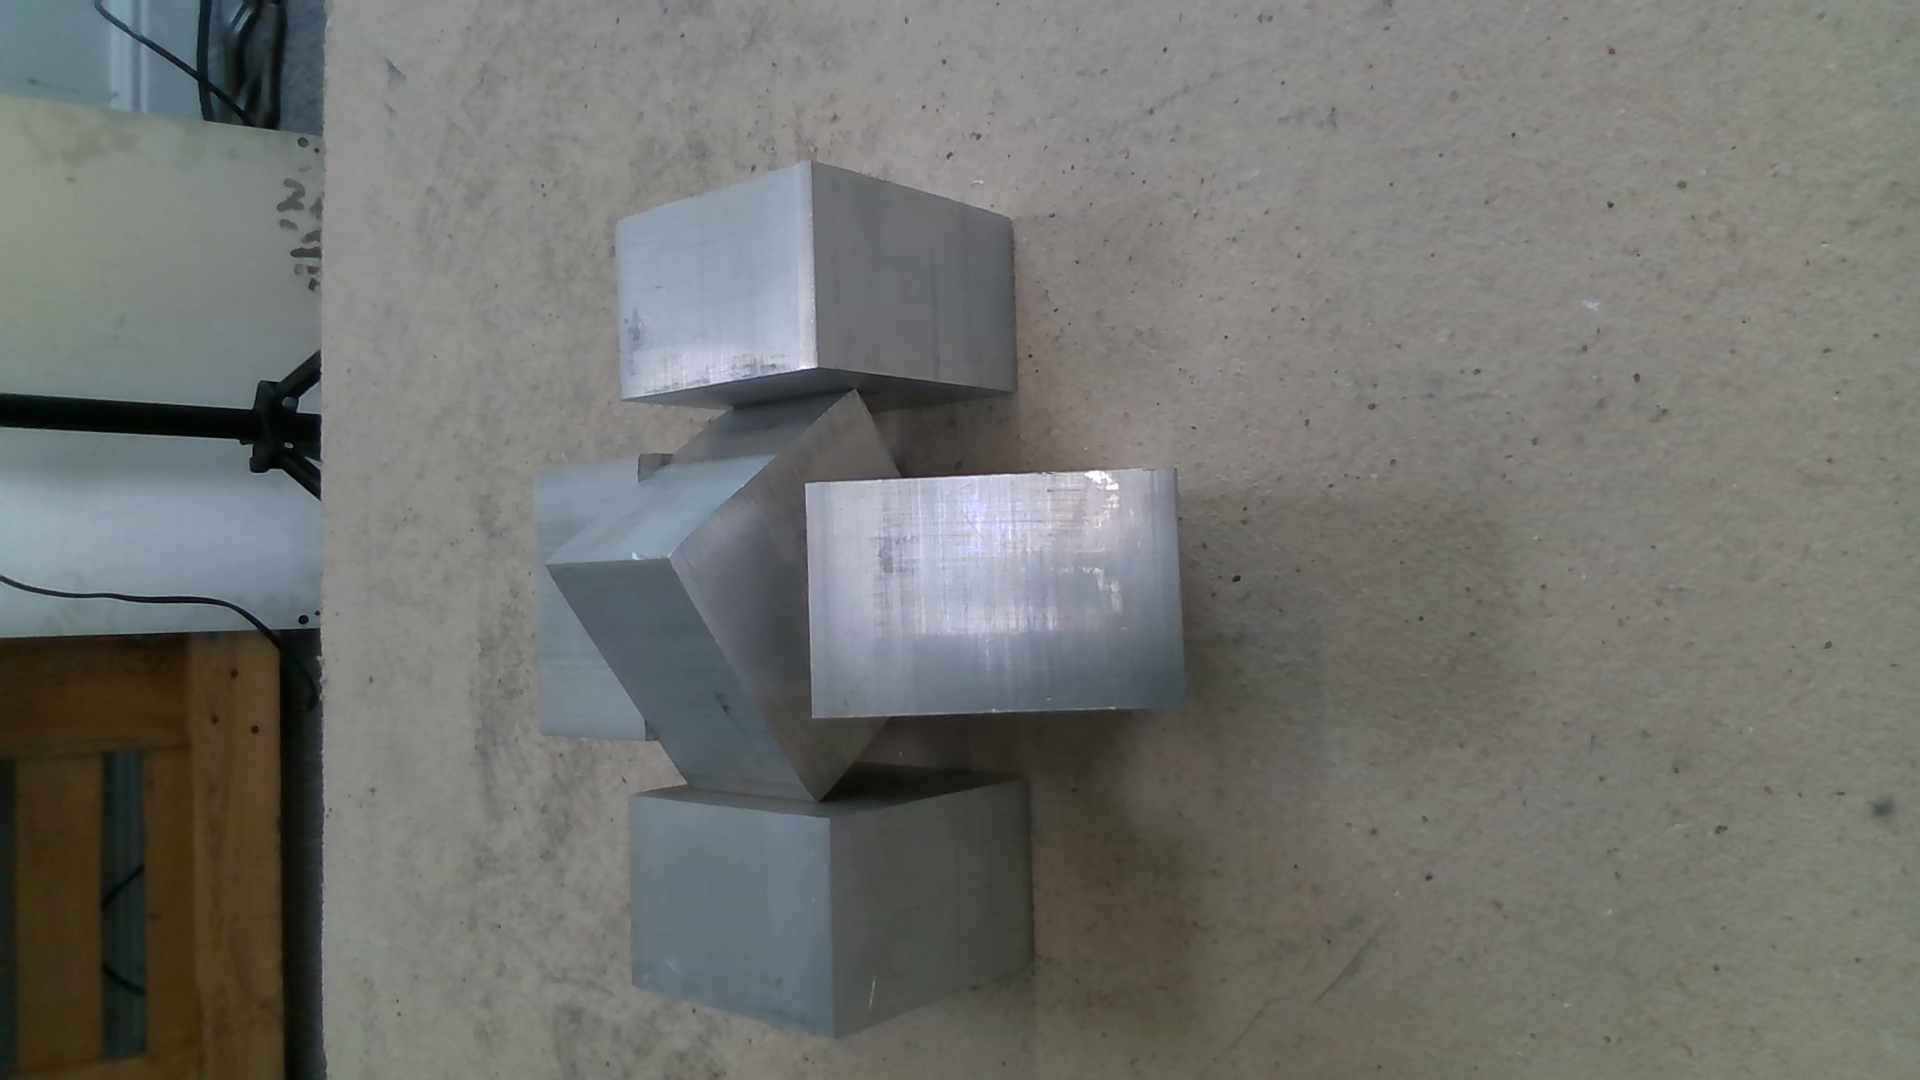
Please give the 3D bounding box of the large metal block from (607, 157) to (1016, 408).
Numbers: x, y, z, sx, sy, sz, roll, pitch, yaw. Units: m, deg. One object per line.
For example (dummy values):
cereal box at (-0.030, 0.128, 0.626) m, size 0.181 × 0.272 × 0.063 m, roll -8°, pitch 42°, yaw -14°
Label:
large metal block at (-0.041, -0.066, 0.388) m, size 0.080 × 0.080 × 0.050 m, roll -3°, pitch 89°, yaw 40°

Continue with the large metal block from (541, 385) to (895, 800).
large metal block at (-0.053, 0.014, 0.381) m, size 0.050 × 0.080 × 0.080 m, roll -3°, pitch 124°, yaw 39°

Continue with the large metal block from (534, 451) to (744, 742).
large metal block at (-0.081, 0.017, 0.424) m, size 0.050 × 0.080 × 0.080 m, roll -3°, pitch 88°, yaw 40°

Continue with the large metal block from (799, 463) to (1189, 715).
large metal block at (0.009, 0.012, 0.328) m, size 0.080 × 0.080 × 0.050 m, roll -2°, pitch 88°, yaw 3°

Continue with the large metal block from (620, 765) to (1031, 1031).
large metal block at (-0.037, 0.094, 0.387) m, size 0.080 × 0.080 × 0.050 m, roll -3°, pitch 89°, yaw 39°
